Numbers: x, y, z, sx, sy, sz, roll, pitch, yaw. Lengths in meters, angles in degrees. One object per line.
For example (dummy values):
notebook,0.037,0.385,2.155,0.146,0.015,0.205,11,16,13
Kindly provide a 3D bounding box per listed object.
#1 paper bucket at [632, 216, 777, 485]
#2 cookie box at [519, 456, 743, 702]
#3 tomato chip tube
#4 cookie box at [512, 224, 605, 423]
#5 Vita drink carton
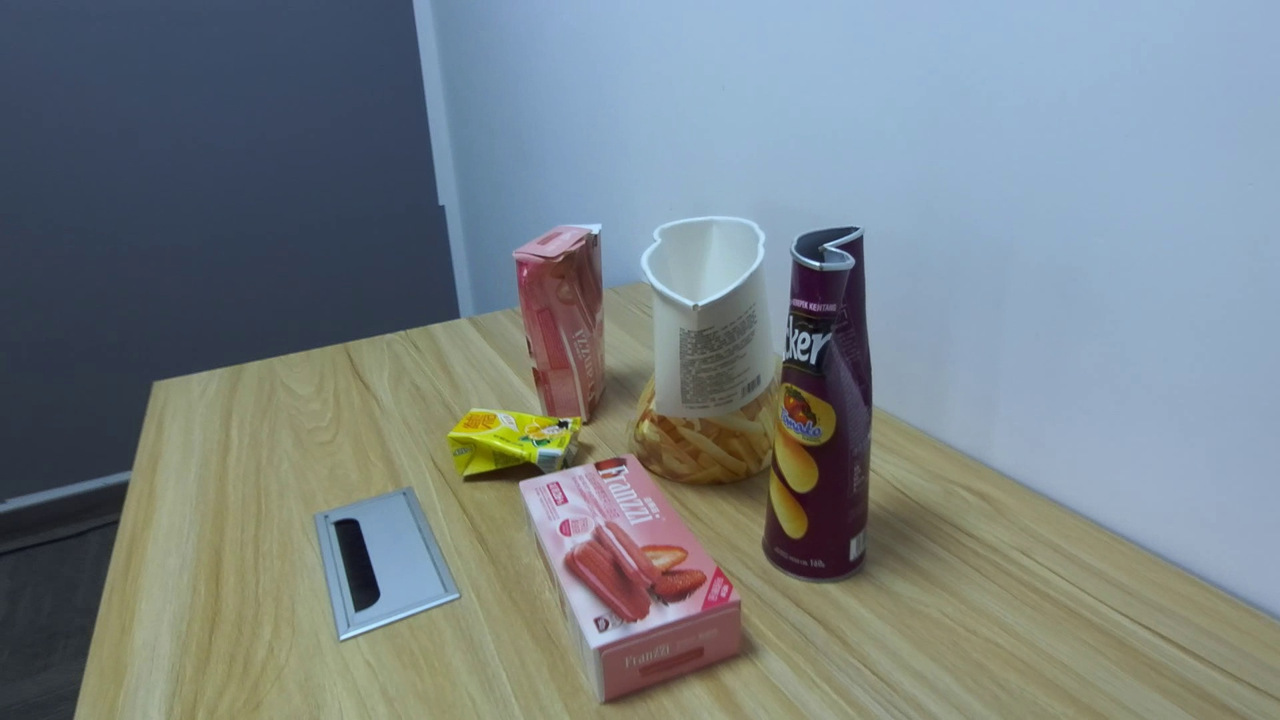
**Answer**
paper bucket,0.058,-0.010,0.626,0.148,0.199,0.217,-12,25,-19
cookie box,-0.015,0.139,0.493,0.096,0.048,0.183,-12,26,-19
tomato chip tube,0.127,0.035,0.479,0.078,0.235,0.076,-9,25,-16
cookie box,-0.072,-0.034,0.713,0.055,0.184,0.118,4,26,16
Vita drink carton,-0.111,0.078,0.646,0.108,0.042,0.087,4,18,7
